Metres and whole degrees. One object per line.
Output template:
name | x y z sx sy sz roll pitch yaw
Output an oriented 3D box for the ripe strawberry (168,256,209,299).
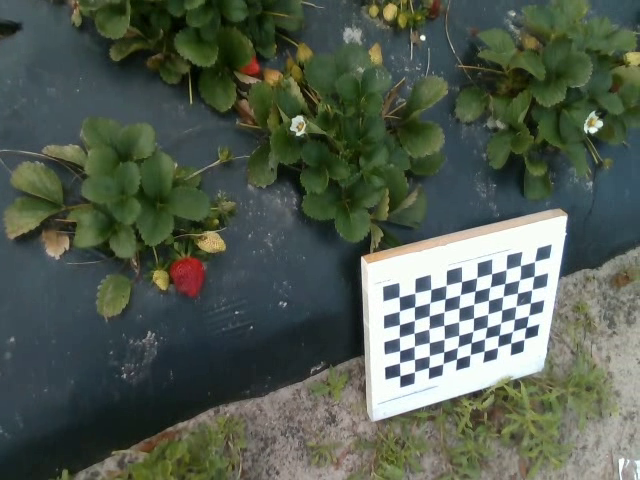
ripe strawberry | -0.162 0.050 0.765 0.046 0.059 0.045 -17 -37 -10
